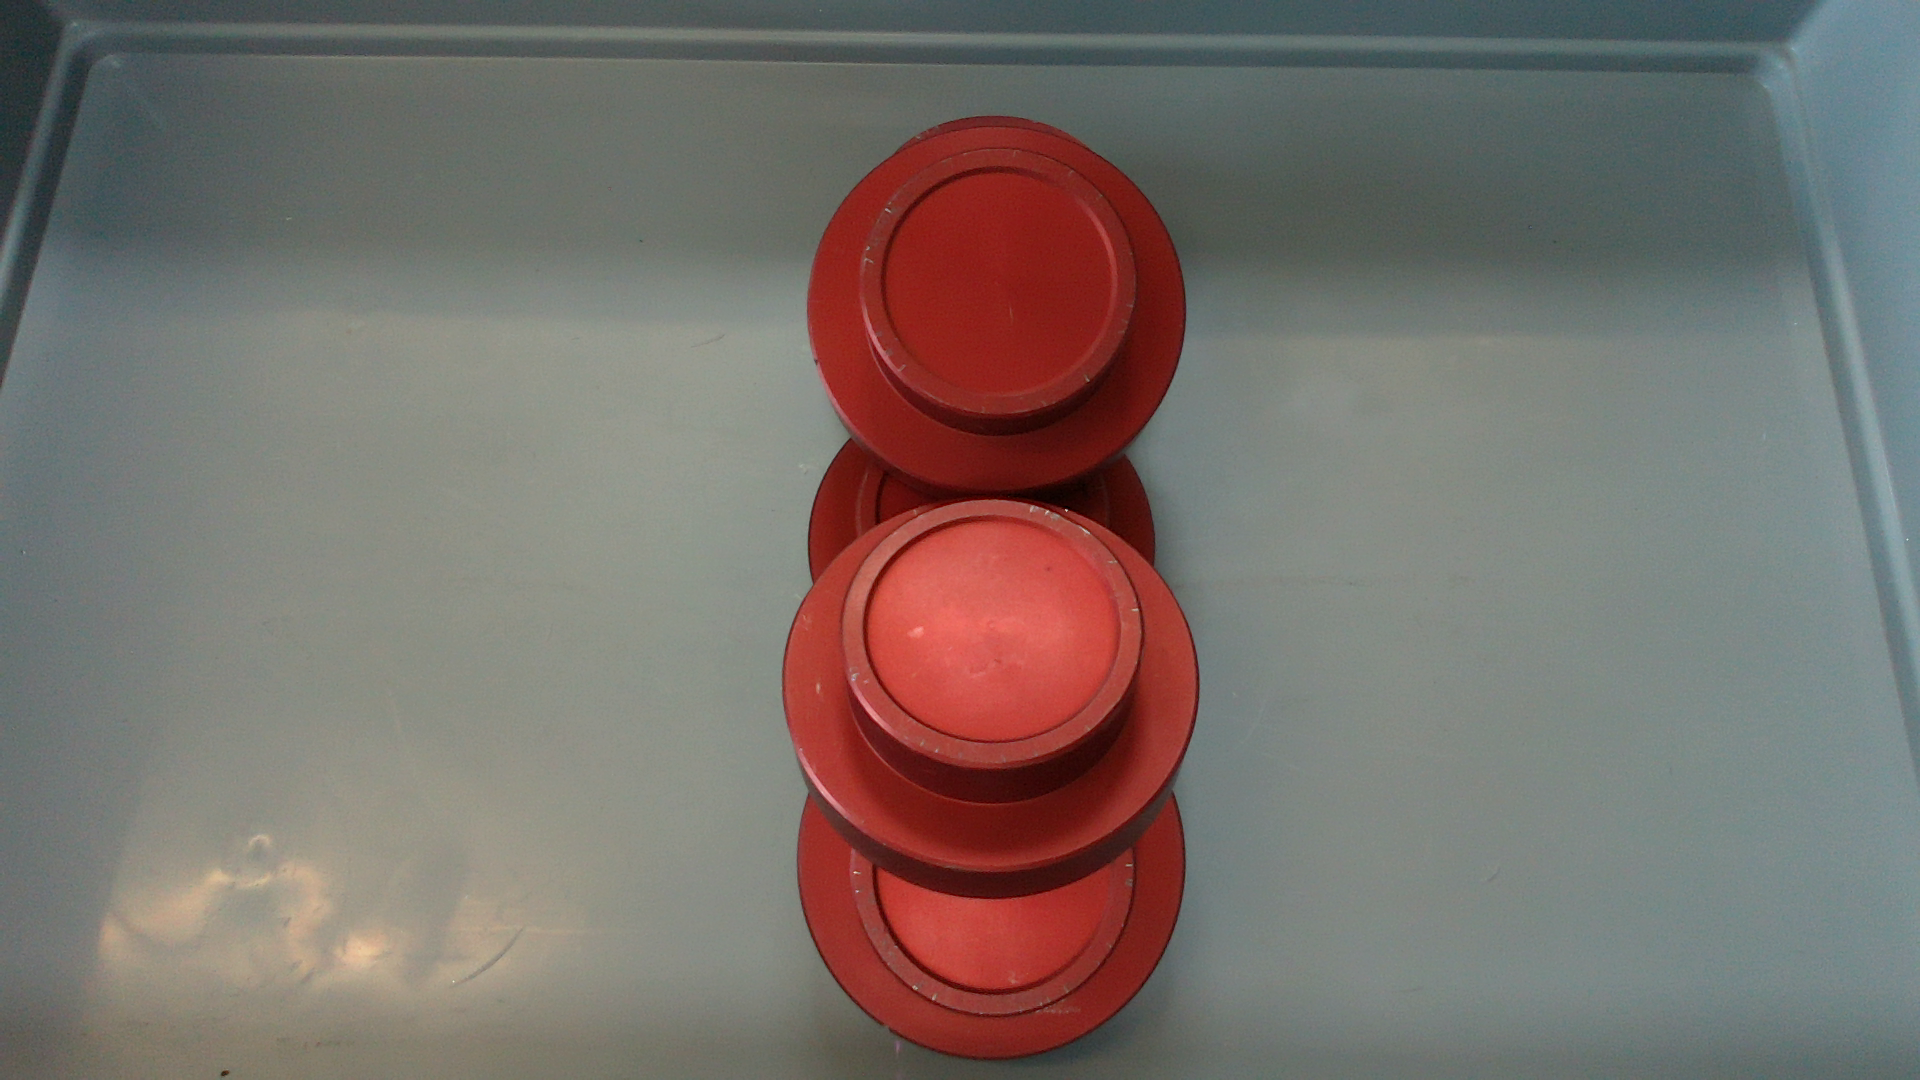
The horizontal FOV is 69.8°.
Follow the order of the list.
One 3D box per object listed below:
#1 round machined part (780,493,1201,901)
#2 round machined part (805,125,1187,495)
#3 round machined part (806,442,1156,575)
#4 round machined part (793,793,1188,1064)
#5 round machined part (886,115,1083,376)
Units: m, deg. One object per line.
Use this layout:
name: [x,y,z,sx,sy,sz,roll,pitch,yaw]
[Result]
round machined part: [0.007,0.029,0.319,0.098,0.042,0.098,0,59,0]
round machined part: [0.009,-0.060,0.352,0.098,0.042,0.098,0,82,0]
round machined part: [0.006,-0.002,0.385,0.098,0.042,0.098,0,69,0]
round machined part: [0.008,0.080,0.341,0.098,0.042,0.098,0,85,0]
round machined part: [0.009,-0.087,0.405,0.098,0.042,0.098,0,54,0]
